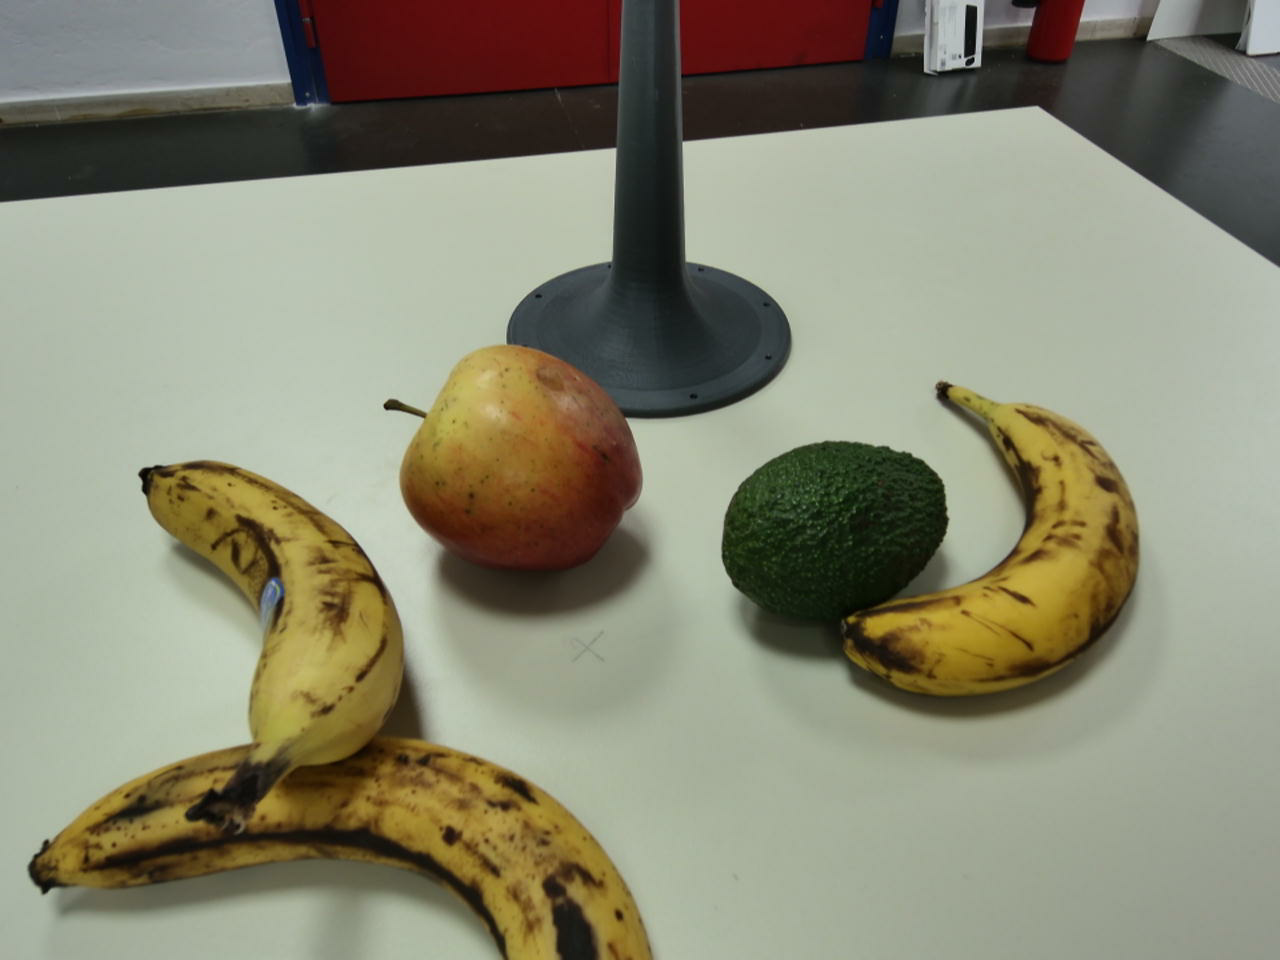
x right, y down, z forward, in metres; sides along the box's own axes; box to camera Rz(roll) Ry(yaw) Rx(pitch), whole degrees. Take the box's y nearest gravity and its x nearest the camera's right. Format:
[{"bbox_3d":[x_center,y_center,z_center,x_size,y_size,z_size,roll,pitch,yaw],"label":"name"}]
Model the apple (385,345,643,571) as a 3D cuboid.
[{"bbox_3d":[-0.048,-0.007,0.383,0.093,0.084,0.086,29,46,31],"label":"apple"}]
